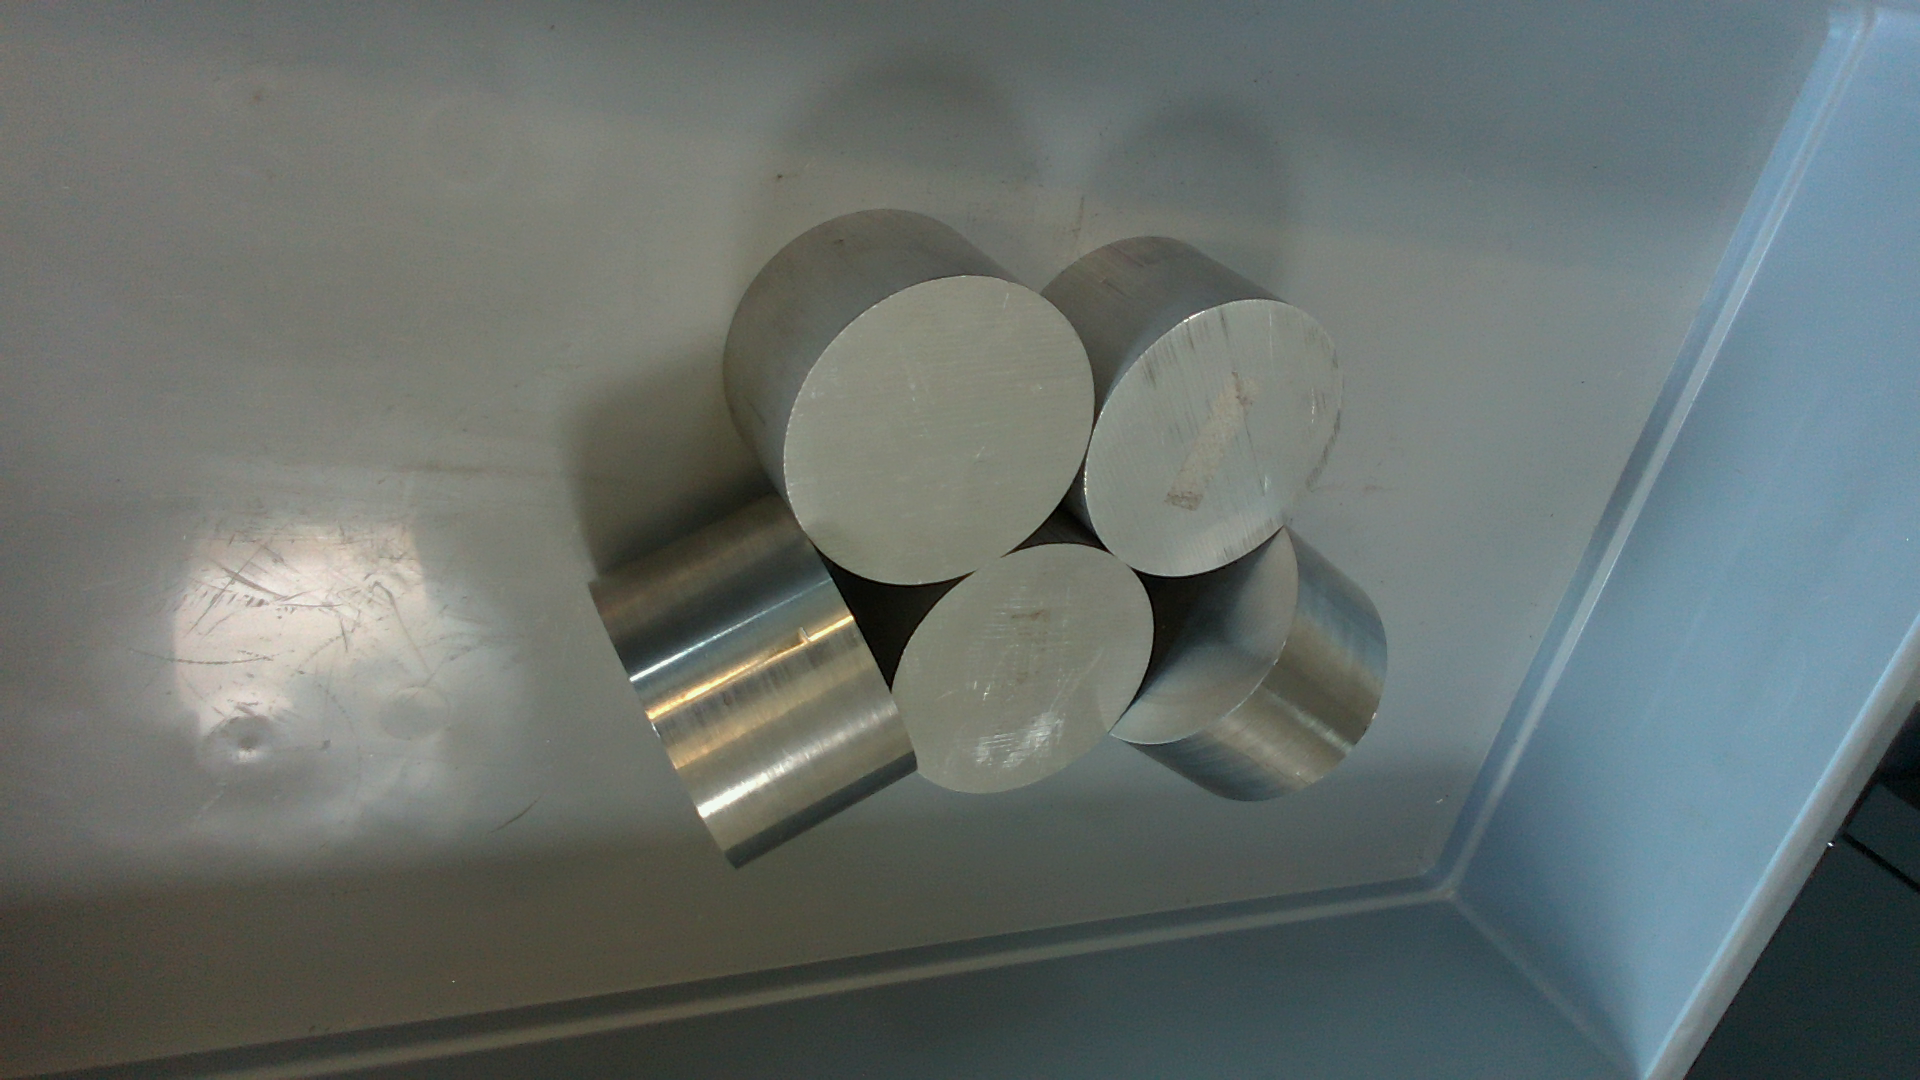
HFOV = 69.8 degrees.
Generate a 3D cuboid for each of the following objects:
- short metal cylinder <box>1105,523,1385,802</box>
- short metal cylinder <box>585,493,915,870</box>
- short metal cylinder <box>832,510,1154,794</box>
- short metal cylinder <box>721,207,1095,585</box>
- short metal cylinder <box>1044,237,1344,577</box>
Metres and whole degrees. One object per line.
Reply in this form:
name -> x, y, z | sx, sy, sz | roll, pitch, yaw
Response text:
short metal cylinder -> 0.079, 0.032, 0.415 | 0.050, 0.080, 0.080 | 33, 100, -38
short metal cylinder -> -0.052, 0.035, 0.345 | 0.050, 0.080, 0.080 | -27, 128, -11
short metal cylinder -> 0.007, 0.024, 0.391 | 0.080, 0.050, 0.080 | -14, 124, -21
short metal cylinder -> -0.014, -0.036, 0.342 | 0.080, 0.050, 0.080 | -14, 124, -21
short metal cylinder -> 0.057, -0.037, 0.380 | 0.080, 0.050, 0.080 | -14, 124, -21
